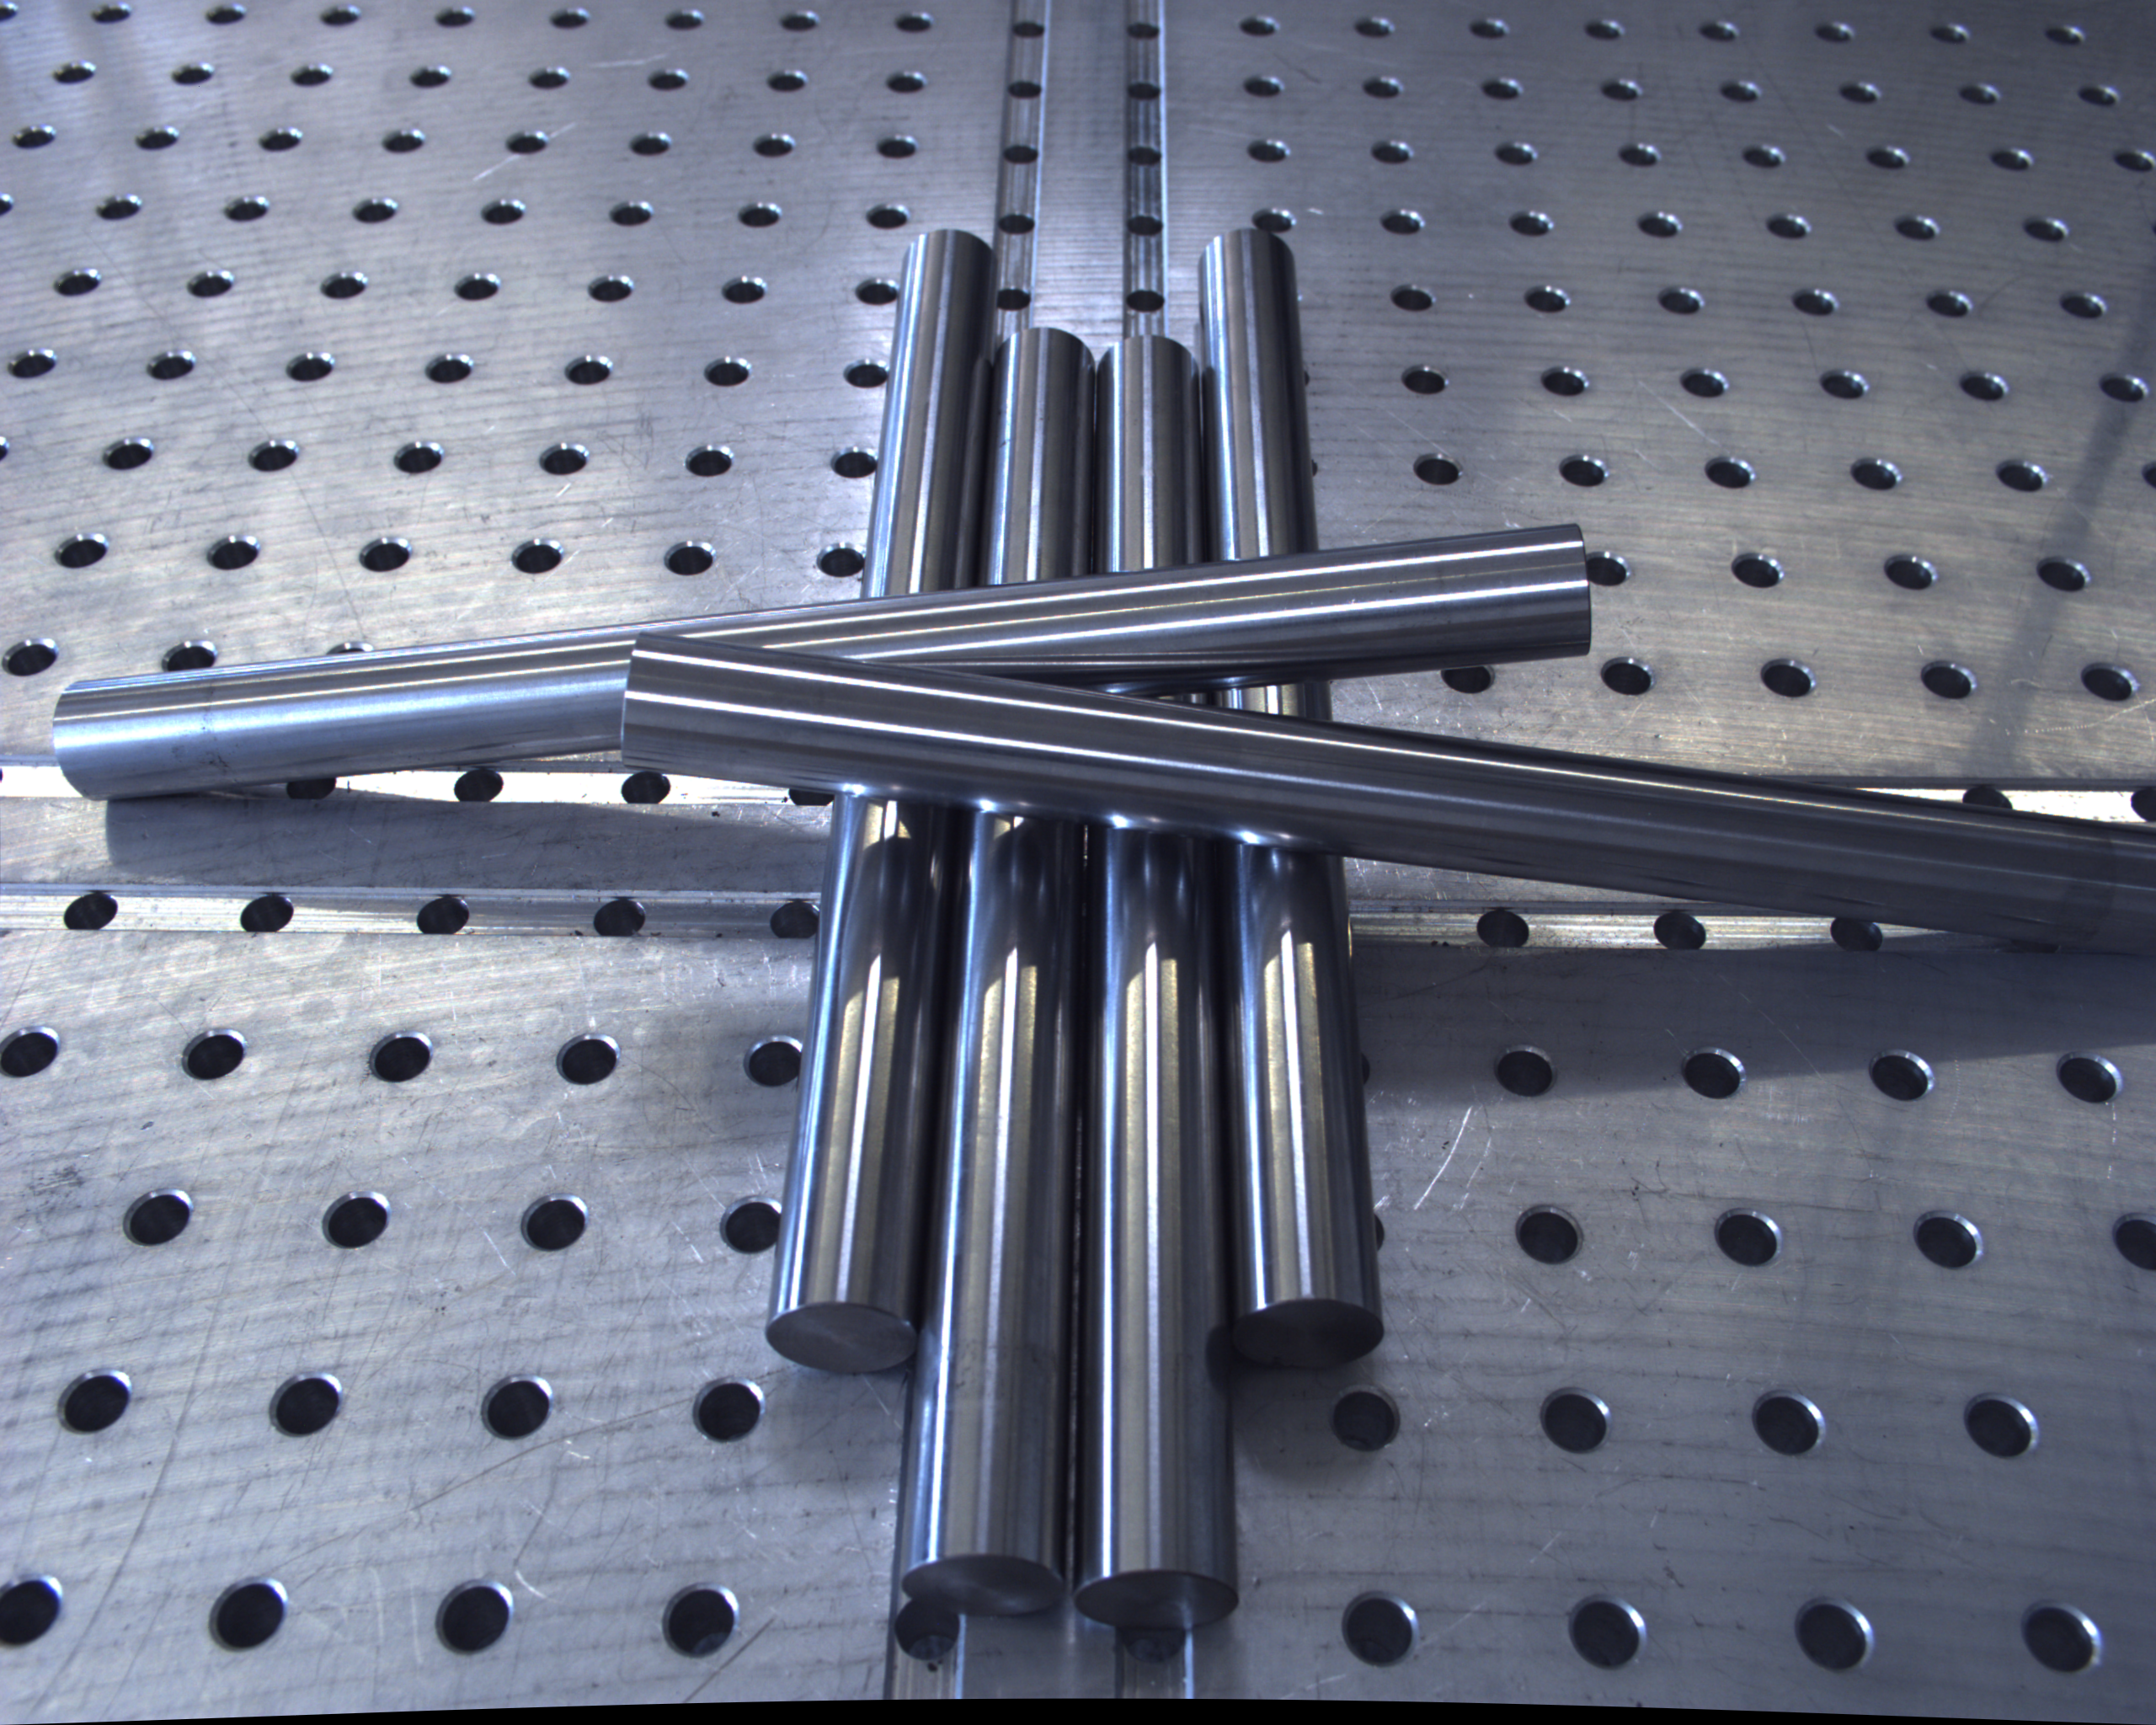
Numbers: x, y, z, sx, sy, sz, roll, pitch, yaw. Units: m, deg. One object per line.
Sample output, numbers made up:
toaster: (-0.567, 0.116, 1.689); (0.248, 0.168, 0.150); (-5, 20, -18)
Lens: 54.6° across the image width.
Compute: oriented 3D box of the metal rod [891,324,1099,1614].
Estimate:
metal rod: (-0.012, -0.006, 0.411); (0.025, 0.025, 0.300); (1, 50, 1)

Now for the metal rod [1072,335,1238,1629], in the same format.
metal rod: (0.015, -0.003, 0.412); (0.025, 0.025, 0.300); (1, 50, 1)

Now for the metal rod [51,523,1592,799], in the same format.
metal rod: (-0.054, -0.038, 0.410); (0.301, 0.025, 0.025); (-5, 50, 7)

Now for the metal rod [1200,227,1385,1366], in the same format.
metal rod: (0.041, -0.038, 0.439); (0.025, 0.025, 0.300); (1, 50, 1)

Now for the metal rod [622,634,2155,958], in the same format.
metal rod: (0.069, -0.011, 0.390); (0.302, 0.025, 0.025); (7, 50, -6)

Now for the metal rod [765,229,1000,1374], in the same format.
metal rod: (-0.035, -0.037, 0.438); (0.025, 0.025, 0.300); (1, 50, 1)
